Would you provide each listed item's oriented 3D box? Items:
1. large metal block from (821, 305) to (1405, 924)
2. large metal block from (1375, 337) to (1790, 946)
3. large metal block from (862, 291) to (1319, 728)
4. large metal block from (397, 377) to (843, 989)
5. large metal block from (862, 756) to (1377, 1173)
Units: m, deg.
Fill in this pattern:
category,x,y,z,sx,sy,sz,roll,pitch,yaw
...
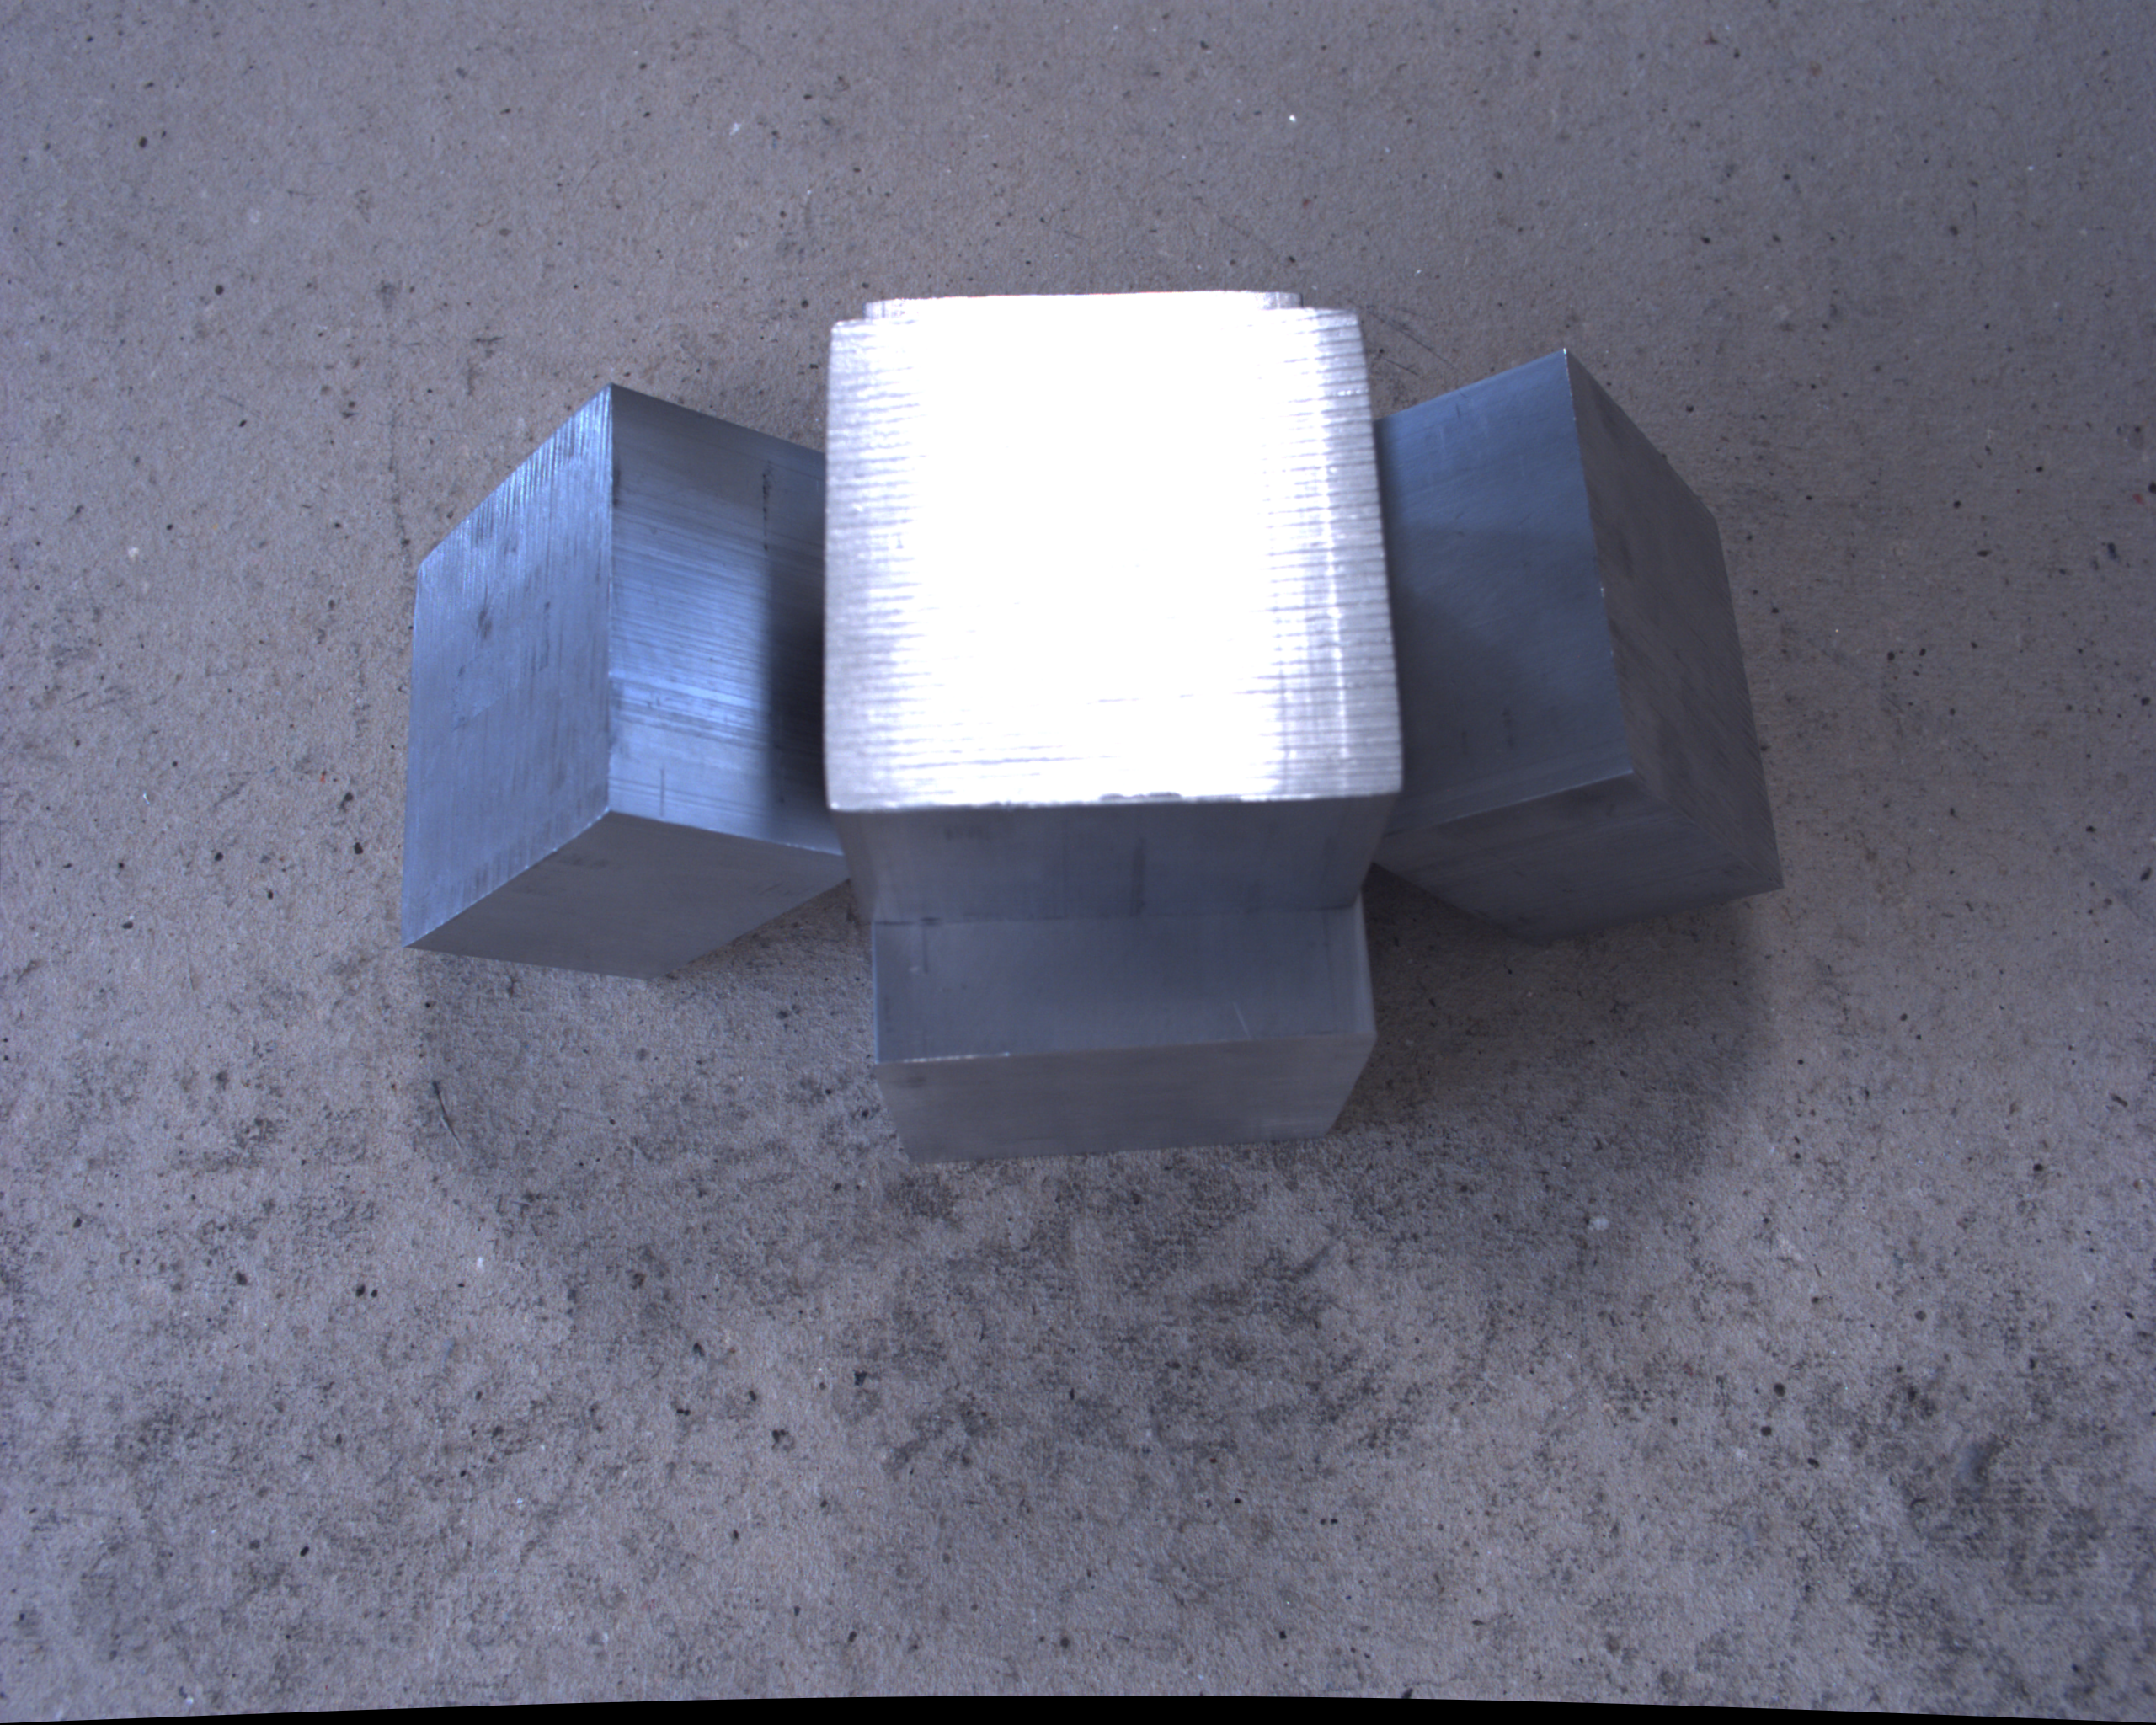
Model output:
category,x,y,z,sx,sy,sz,roll,pitch,yaw
large metal block,0.004,-0.037,0.325,0.081,0.050,0.080,-2,70,-1
large metal block,0.088,-0.036,0.386,0.050,0.080,0.080,-16,67,31
large metal block,0.002,-0.065,0.404,0.081,0.080,0.050,-2,70,-1
large metal block,-0.082,-0.029,0.383,0.050,0.080,0.080,13,64,-38
large metal block,0.006,0.021,0.374,0.081,0.080,0.050,-4,70,-1
